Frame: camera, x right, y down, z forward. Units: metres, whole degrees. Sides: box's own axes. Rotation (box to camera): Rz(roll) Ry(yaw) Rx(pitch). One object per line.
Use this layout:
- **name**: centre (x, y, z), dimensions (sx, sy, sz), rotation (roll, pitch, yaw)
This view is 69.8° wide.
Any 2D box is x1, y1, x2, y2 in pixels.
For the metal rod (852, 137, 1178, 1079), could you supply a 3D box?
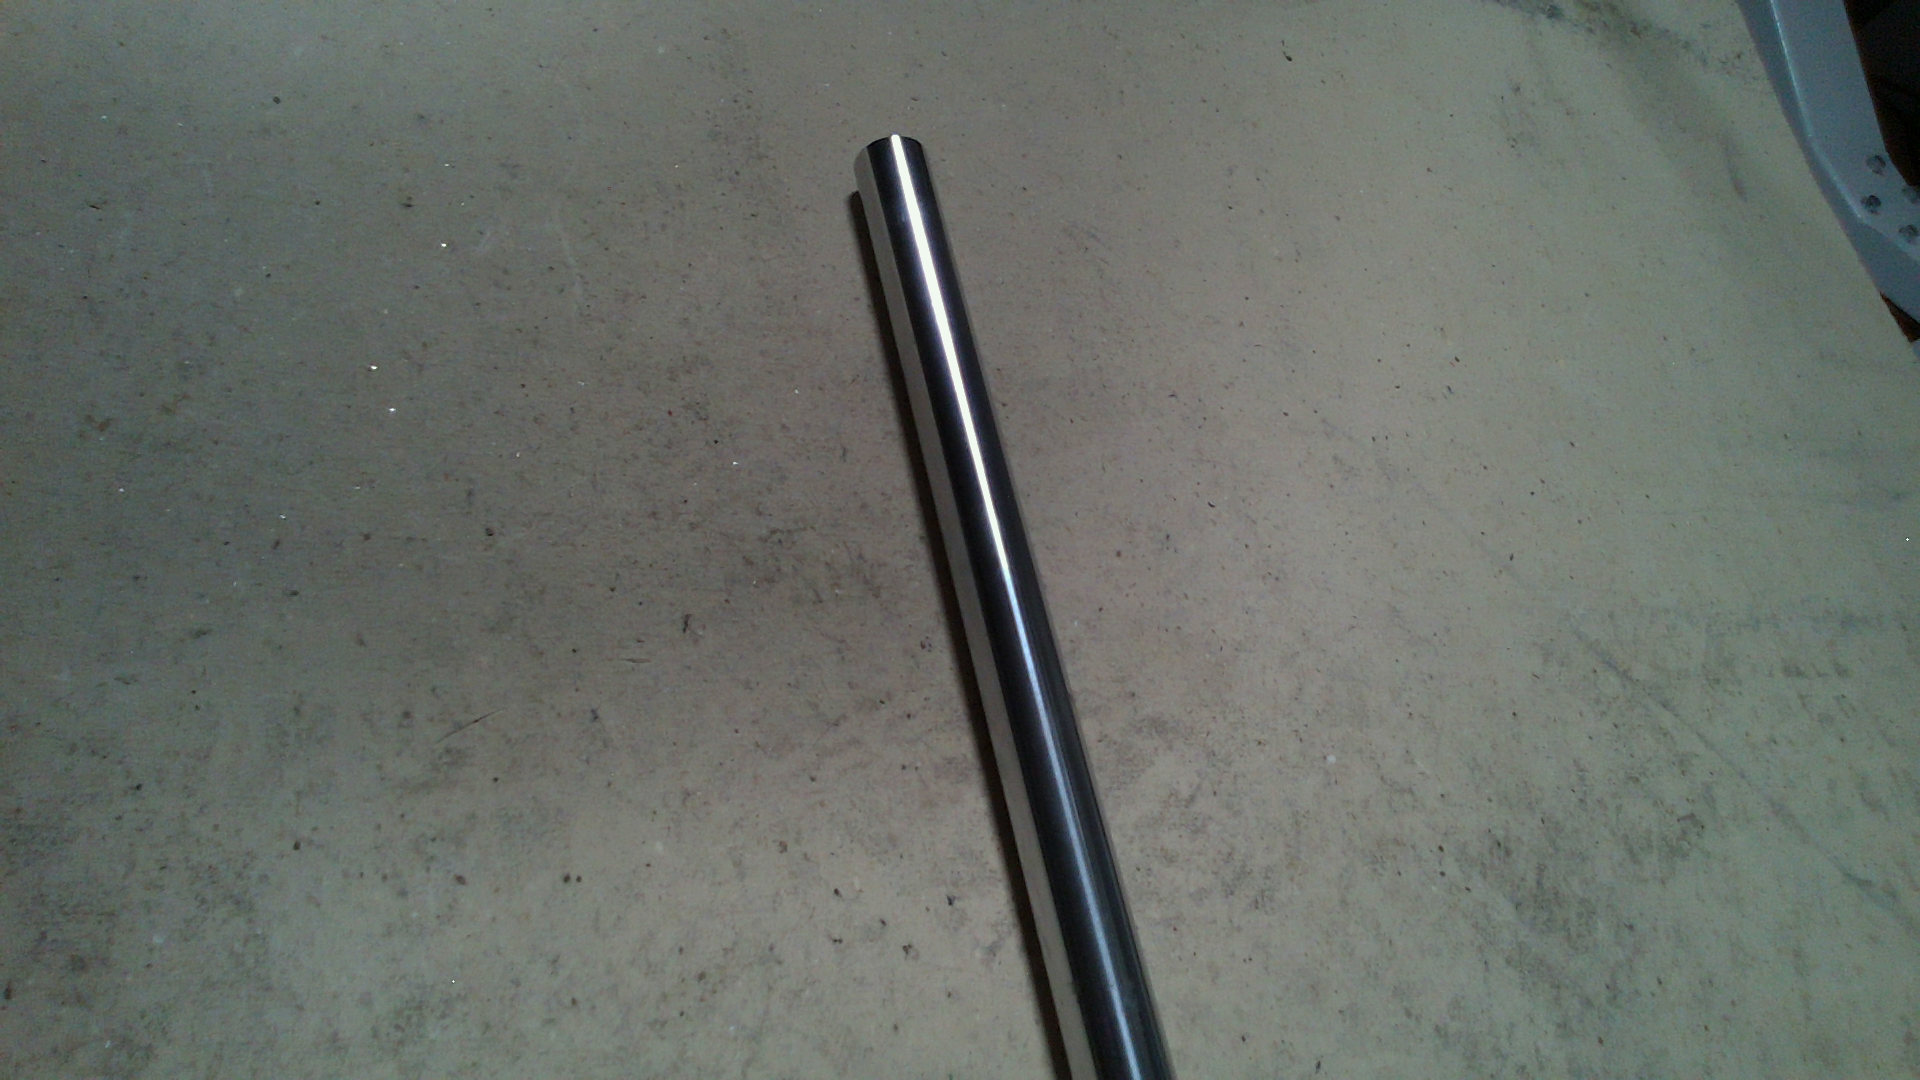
- **metal rod**: centre (0.009, 0.008, 0.390), dimensions (0.025, 0.025, 0.300), rotation (0, 61, -28)
